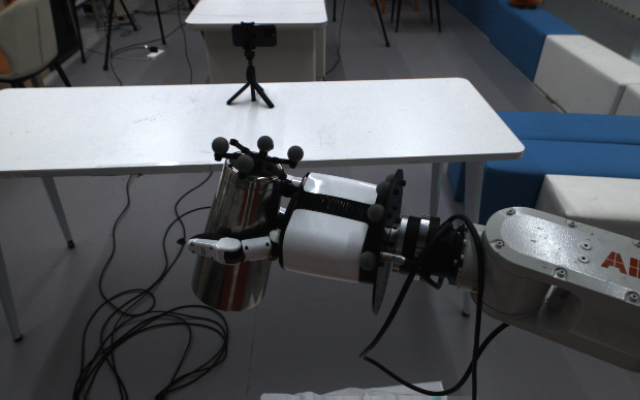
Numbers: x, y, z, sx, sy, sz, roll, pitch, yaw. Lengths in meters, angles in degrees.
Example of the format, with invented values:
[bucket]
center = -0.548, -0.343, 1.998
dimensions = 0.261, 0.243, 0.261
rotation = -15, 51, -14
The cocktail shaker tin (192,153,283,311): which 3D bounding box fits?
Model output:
[cocktail shaker tin]
center = -0.087, 0.033, 0.557
dimensions = 0.093, 0.170, 0.093
rotation = 12, 29, -7
